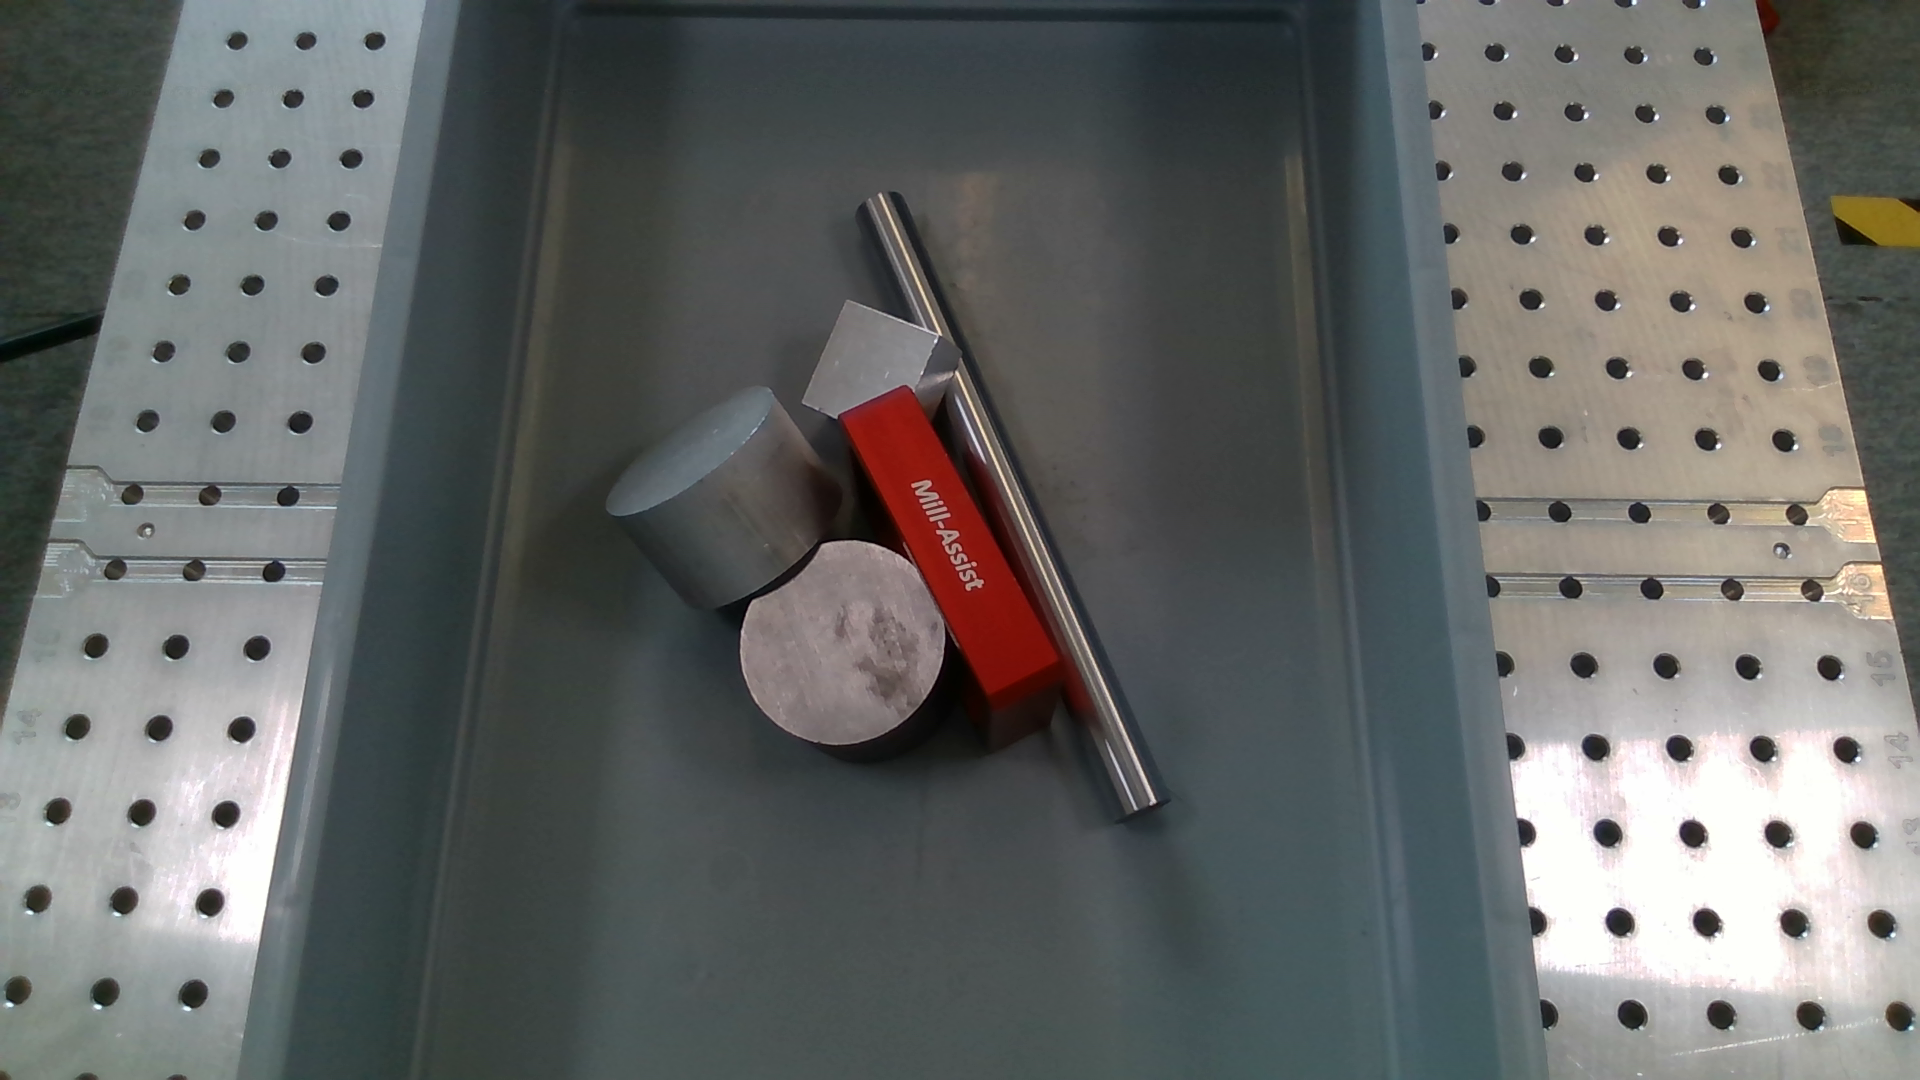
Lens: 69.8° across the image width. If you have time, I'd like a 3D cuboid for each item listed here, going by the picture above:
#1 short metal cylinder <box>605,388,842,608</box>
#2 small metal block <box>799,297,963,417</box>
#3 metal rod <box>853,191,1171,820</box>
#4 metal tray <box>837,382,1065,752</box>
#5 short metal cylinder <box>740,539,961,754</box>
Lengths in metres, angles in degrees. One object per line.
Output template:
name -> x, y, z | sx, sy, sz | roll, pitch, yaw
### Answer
short metal cylinder -> -0.095, -0.018, 0.557 | 0.080, 0.080, 0.050 | -41, 117, -13
small metal block -> -0.034, -0.071, 0.599 | 0.050, 0.025, 0.050 | 25, 91, 25
metal rod -> 0.017, -0.024, 0.595 | 0.025, 0.025, 0.299 | -21, 72, -7
metal tray -> -0.005, 0.013, 0.548 | 0.030, 0.090, 0.130 | -26, 72, -9
short metal cylinder -> -0.042, 0.045, 0.552 | 0.080, 0.050, 0.080 | -2, 74, 8
